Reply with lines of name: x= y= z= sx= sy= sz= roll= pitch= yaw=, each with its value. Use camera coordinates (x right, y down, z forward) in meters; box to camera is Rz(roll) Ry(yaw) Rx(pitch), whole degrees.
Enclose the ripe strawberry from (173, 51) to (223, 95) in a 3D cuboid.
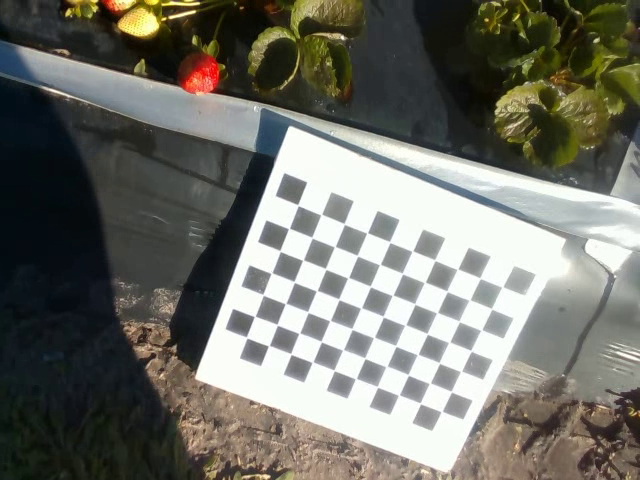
ripe strawberry: x=-0.093 y=-0.121 z=0.448 sx=0.036 sy=0.038 sz=0.046 roll=20 pitch=26 yaw=-2
